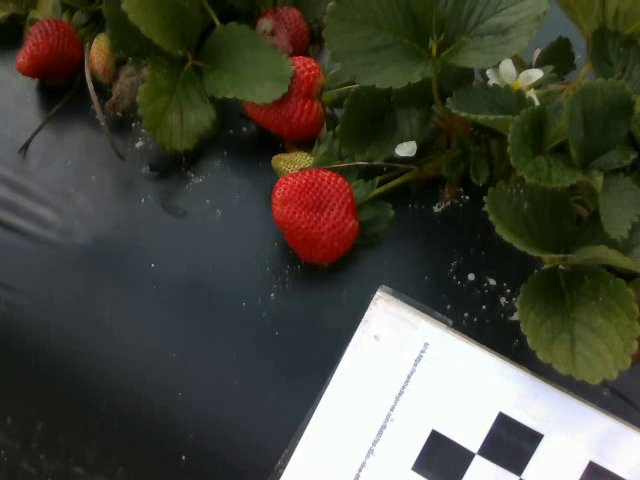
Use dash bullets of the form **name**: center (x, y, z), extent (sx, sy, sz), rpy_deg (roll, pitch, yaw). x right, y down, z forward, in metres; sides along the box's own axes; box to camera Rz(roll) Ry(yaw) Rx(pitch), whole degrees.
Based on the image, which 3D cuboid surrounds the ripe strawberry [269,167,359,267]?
- **ripe strawberry**: center (-0.008, -0.015, 0.314), extent (0.057, 0.056, 0.065), rpy_deg (-13, -2, 29)

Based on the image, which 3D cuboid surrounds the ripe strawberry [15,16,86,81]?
- **ripe strawberry**: center (-0.170, -0.122, 0.360), extent (0.044, 0.041, 0.052), rpy_deg (9, 46, 16)
